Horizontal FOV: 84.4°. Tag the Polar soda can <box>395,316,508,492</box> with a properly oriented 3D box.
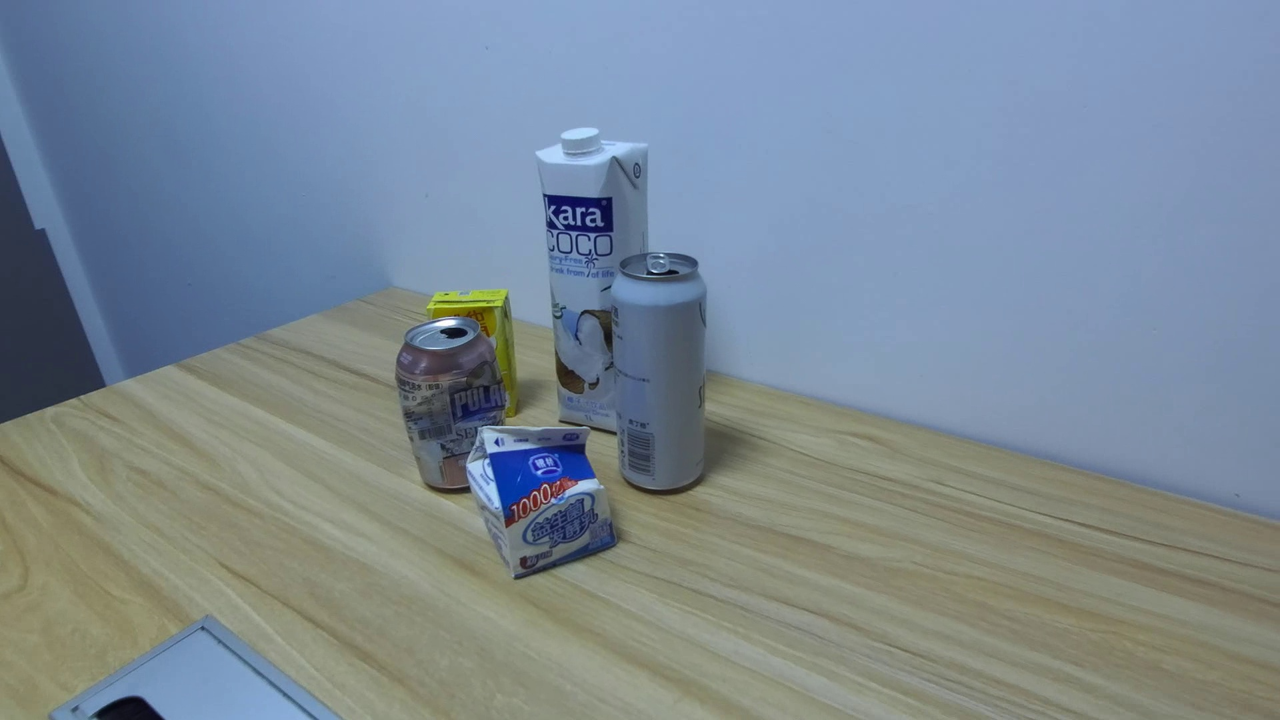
[{"bbox_3d":[-0.138,0.035,0.534,0.074,0.122,0.067,2,25,13],"label":"Polar soda can"}]

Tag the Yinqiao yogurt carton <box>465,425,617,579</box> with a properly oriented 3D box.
[{"bbox_3d":[-0.068,0.078,0.467,0.083,0.093,0.077,-13,28,-22],"label":"Yinqiao yogurt carton"}]

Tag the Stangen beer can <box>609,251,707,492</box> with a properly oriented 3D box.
[{"bbox_3d":[0.014,0.012,0.511,0.067,0.171,0.067,-1,26,1],"label":"Stangen beer can"}]

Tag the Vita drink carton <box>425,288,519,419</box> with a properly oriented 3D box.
[{"bbox_3d":[-0.146,-0.005,0.630,0.066,0.109,0.043,-2,26,0],"label":"Vita drink carton"}]
